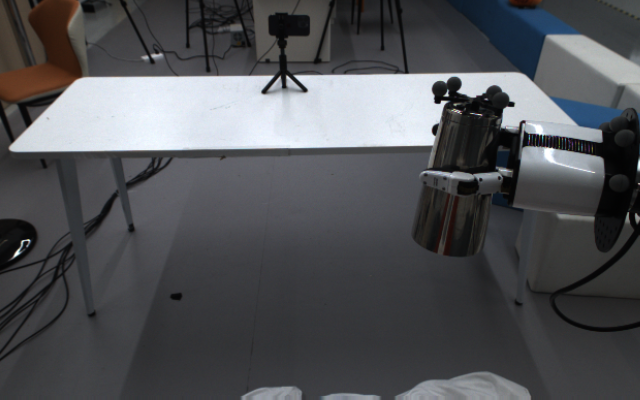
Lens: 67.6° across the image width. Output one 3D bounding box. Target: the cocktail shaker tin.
[{"bbox_3d":[0.170,-0.029,0.587,0.093,0.170,0.093,3,26,-1],"label":"cocktail shaker tin"}]
